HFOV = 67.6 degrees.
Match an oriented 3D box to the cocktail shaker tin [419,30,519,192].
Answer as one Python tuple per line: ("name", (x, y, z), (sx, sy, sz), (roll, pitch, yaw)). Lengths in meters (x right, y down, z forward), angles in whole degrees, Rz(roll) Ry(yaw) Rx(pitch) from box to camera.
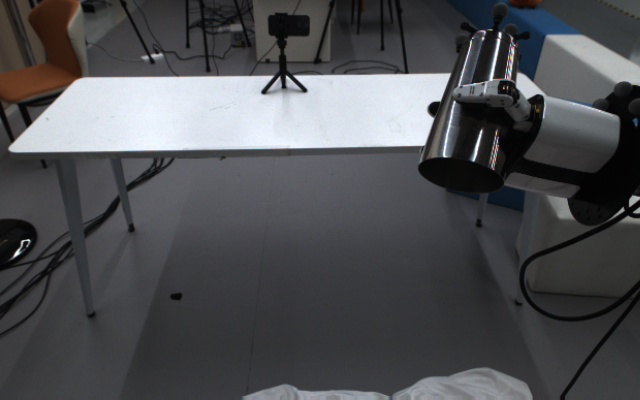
("cocktail shaker tin", (0.179, -0.103, 0.552), (0.093, 0.093, 0.170), (13, 74, 15))
